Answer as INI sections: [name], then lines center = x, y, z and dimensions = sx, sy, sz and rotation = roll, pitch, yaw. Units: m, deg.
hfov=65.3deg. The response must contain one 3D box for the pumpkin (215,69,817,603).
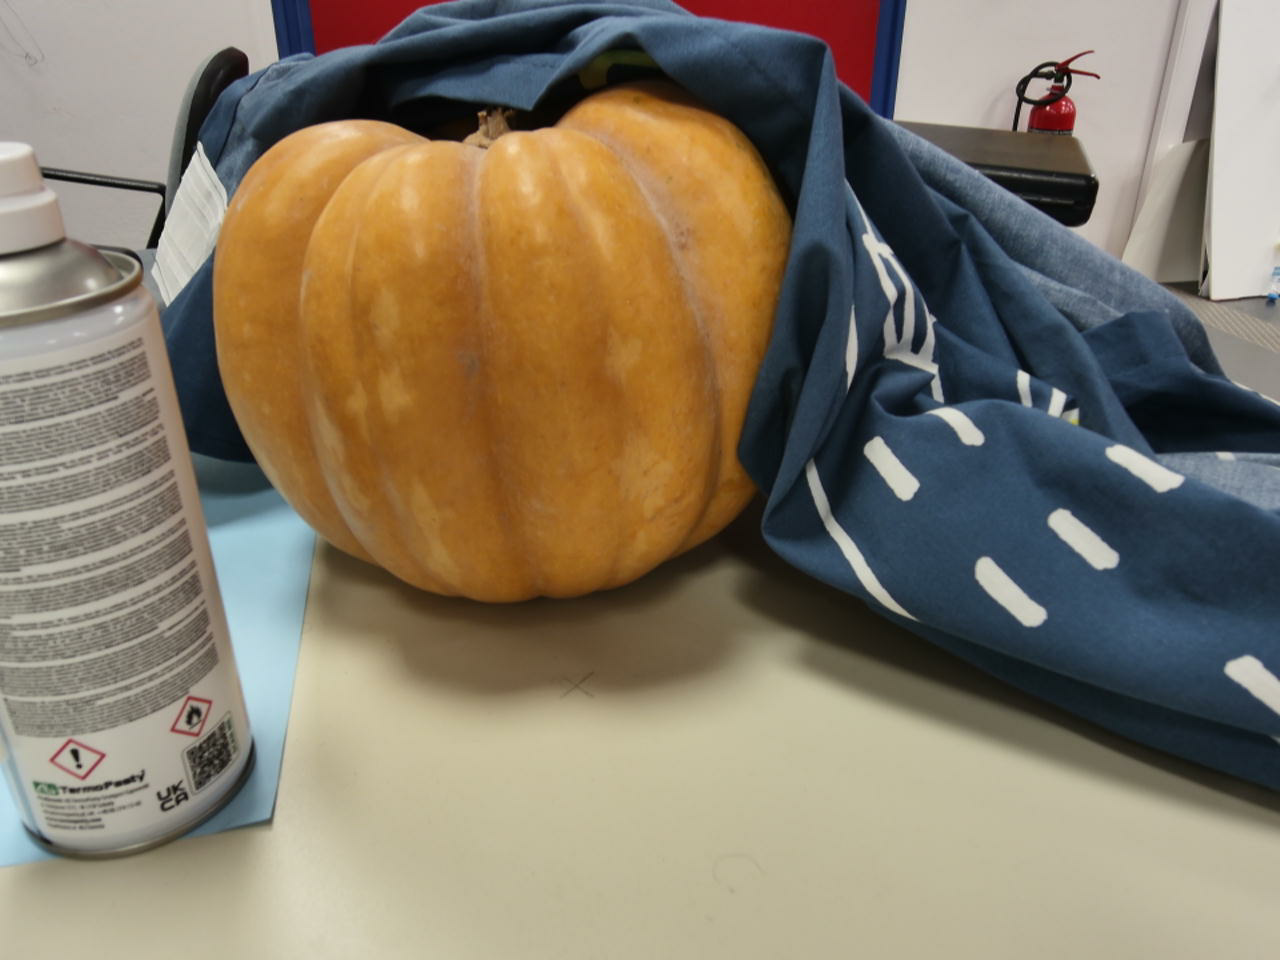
[pumpkin]
center = -0.042, -0.058, 0.397
dimensions = 0.230, 0.194, 0.230
rotation = 0, 25, 0
